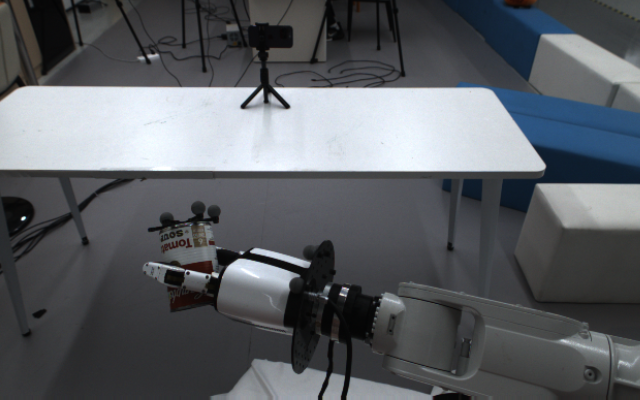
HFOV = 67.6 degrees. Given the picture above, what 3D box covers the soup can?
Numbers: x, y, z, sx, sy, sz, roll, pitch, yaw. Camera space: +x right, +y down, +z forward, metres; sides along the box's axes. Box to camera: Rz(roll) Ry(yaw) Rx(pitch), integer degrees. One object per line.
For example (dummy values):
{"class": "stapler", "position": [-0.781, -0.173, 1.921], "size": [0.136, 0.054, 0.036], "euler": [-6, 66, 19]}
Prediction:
{"class": "soup can", "position": [-0.161, 0.086, 0.611], "size": [0.067, 0.067, 0.101], "euler": [-10, 80, -17]}
